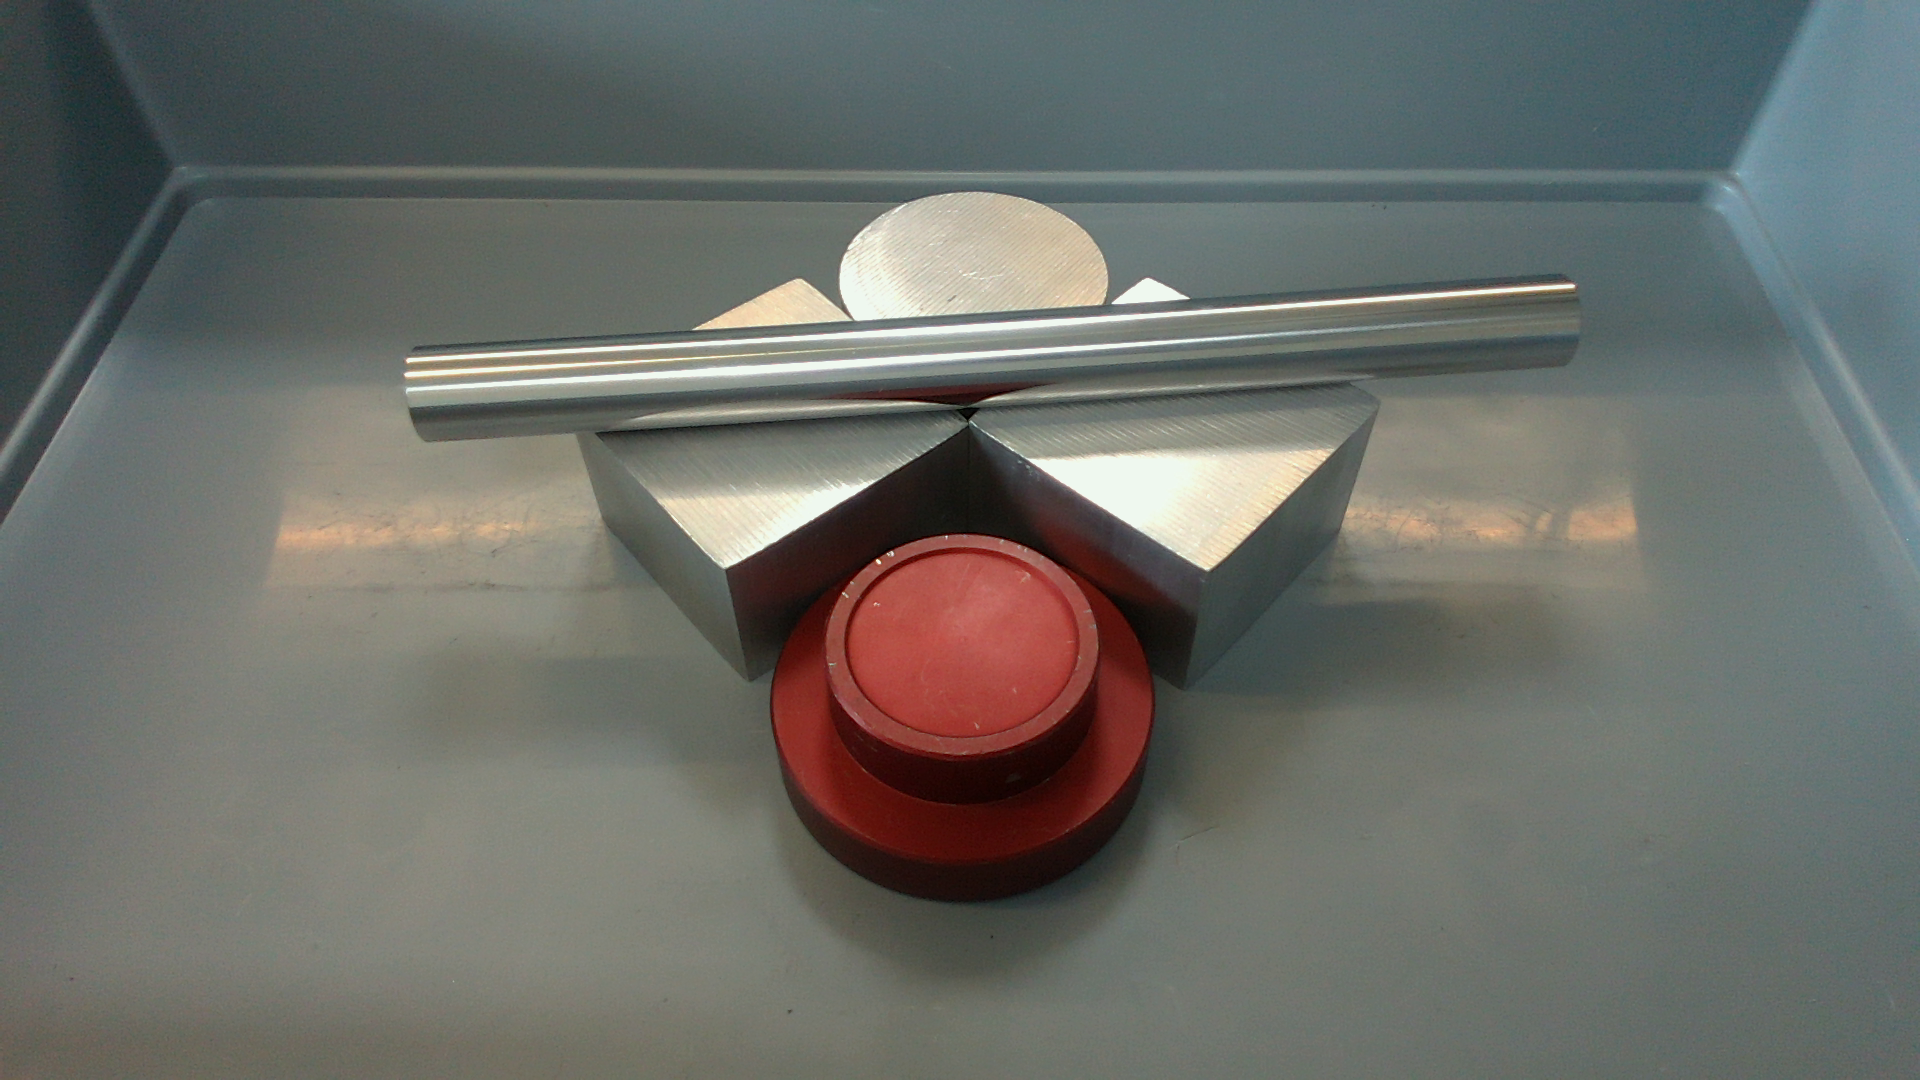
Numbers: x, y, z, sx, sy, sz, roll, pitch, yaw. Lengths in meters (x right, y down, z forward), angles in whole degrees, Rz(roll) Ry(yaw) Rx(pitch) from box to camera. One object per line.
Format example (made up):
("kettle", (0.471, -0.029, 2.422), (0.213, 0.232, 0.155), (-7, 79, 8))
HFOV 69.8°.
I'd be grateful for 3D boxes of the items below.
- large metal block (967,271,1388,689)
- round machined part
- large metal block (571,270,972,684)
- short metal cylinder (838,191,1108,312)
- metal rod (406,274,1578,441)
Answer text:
("large metal block", (0.059, -0.019, 0.387), (0.080, 0.050, 0.080), (35, 59, 26))
("round machined part", (0.001, 0.037, 0.347), (0.098, 0.042, 0.098), (0, 50, 0))
("large metal block", (-0.053, -0.020, 0.390), (0.080, 0.050, 0.080), (-32, 58, -24))
("short metal cylinder", (0.004, -0.063, 0.427), (0.080, 0.050, 0.080), (0, 50, 0))
("metal rod", (0.011, -0.049, 0.363), (0.300, 0.025, 0.025), (-4, 50, -3))
